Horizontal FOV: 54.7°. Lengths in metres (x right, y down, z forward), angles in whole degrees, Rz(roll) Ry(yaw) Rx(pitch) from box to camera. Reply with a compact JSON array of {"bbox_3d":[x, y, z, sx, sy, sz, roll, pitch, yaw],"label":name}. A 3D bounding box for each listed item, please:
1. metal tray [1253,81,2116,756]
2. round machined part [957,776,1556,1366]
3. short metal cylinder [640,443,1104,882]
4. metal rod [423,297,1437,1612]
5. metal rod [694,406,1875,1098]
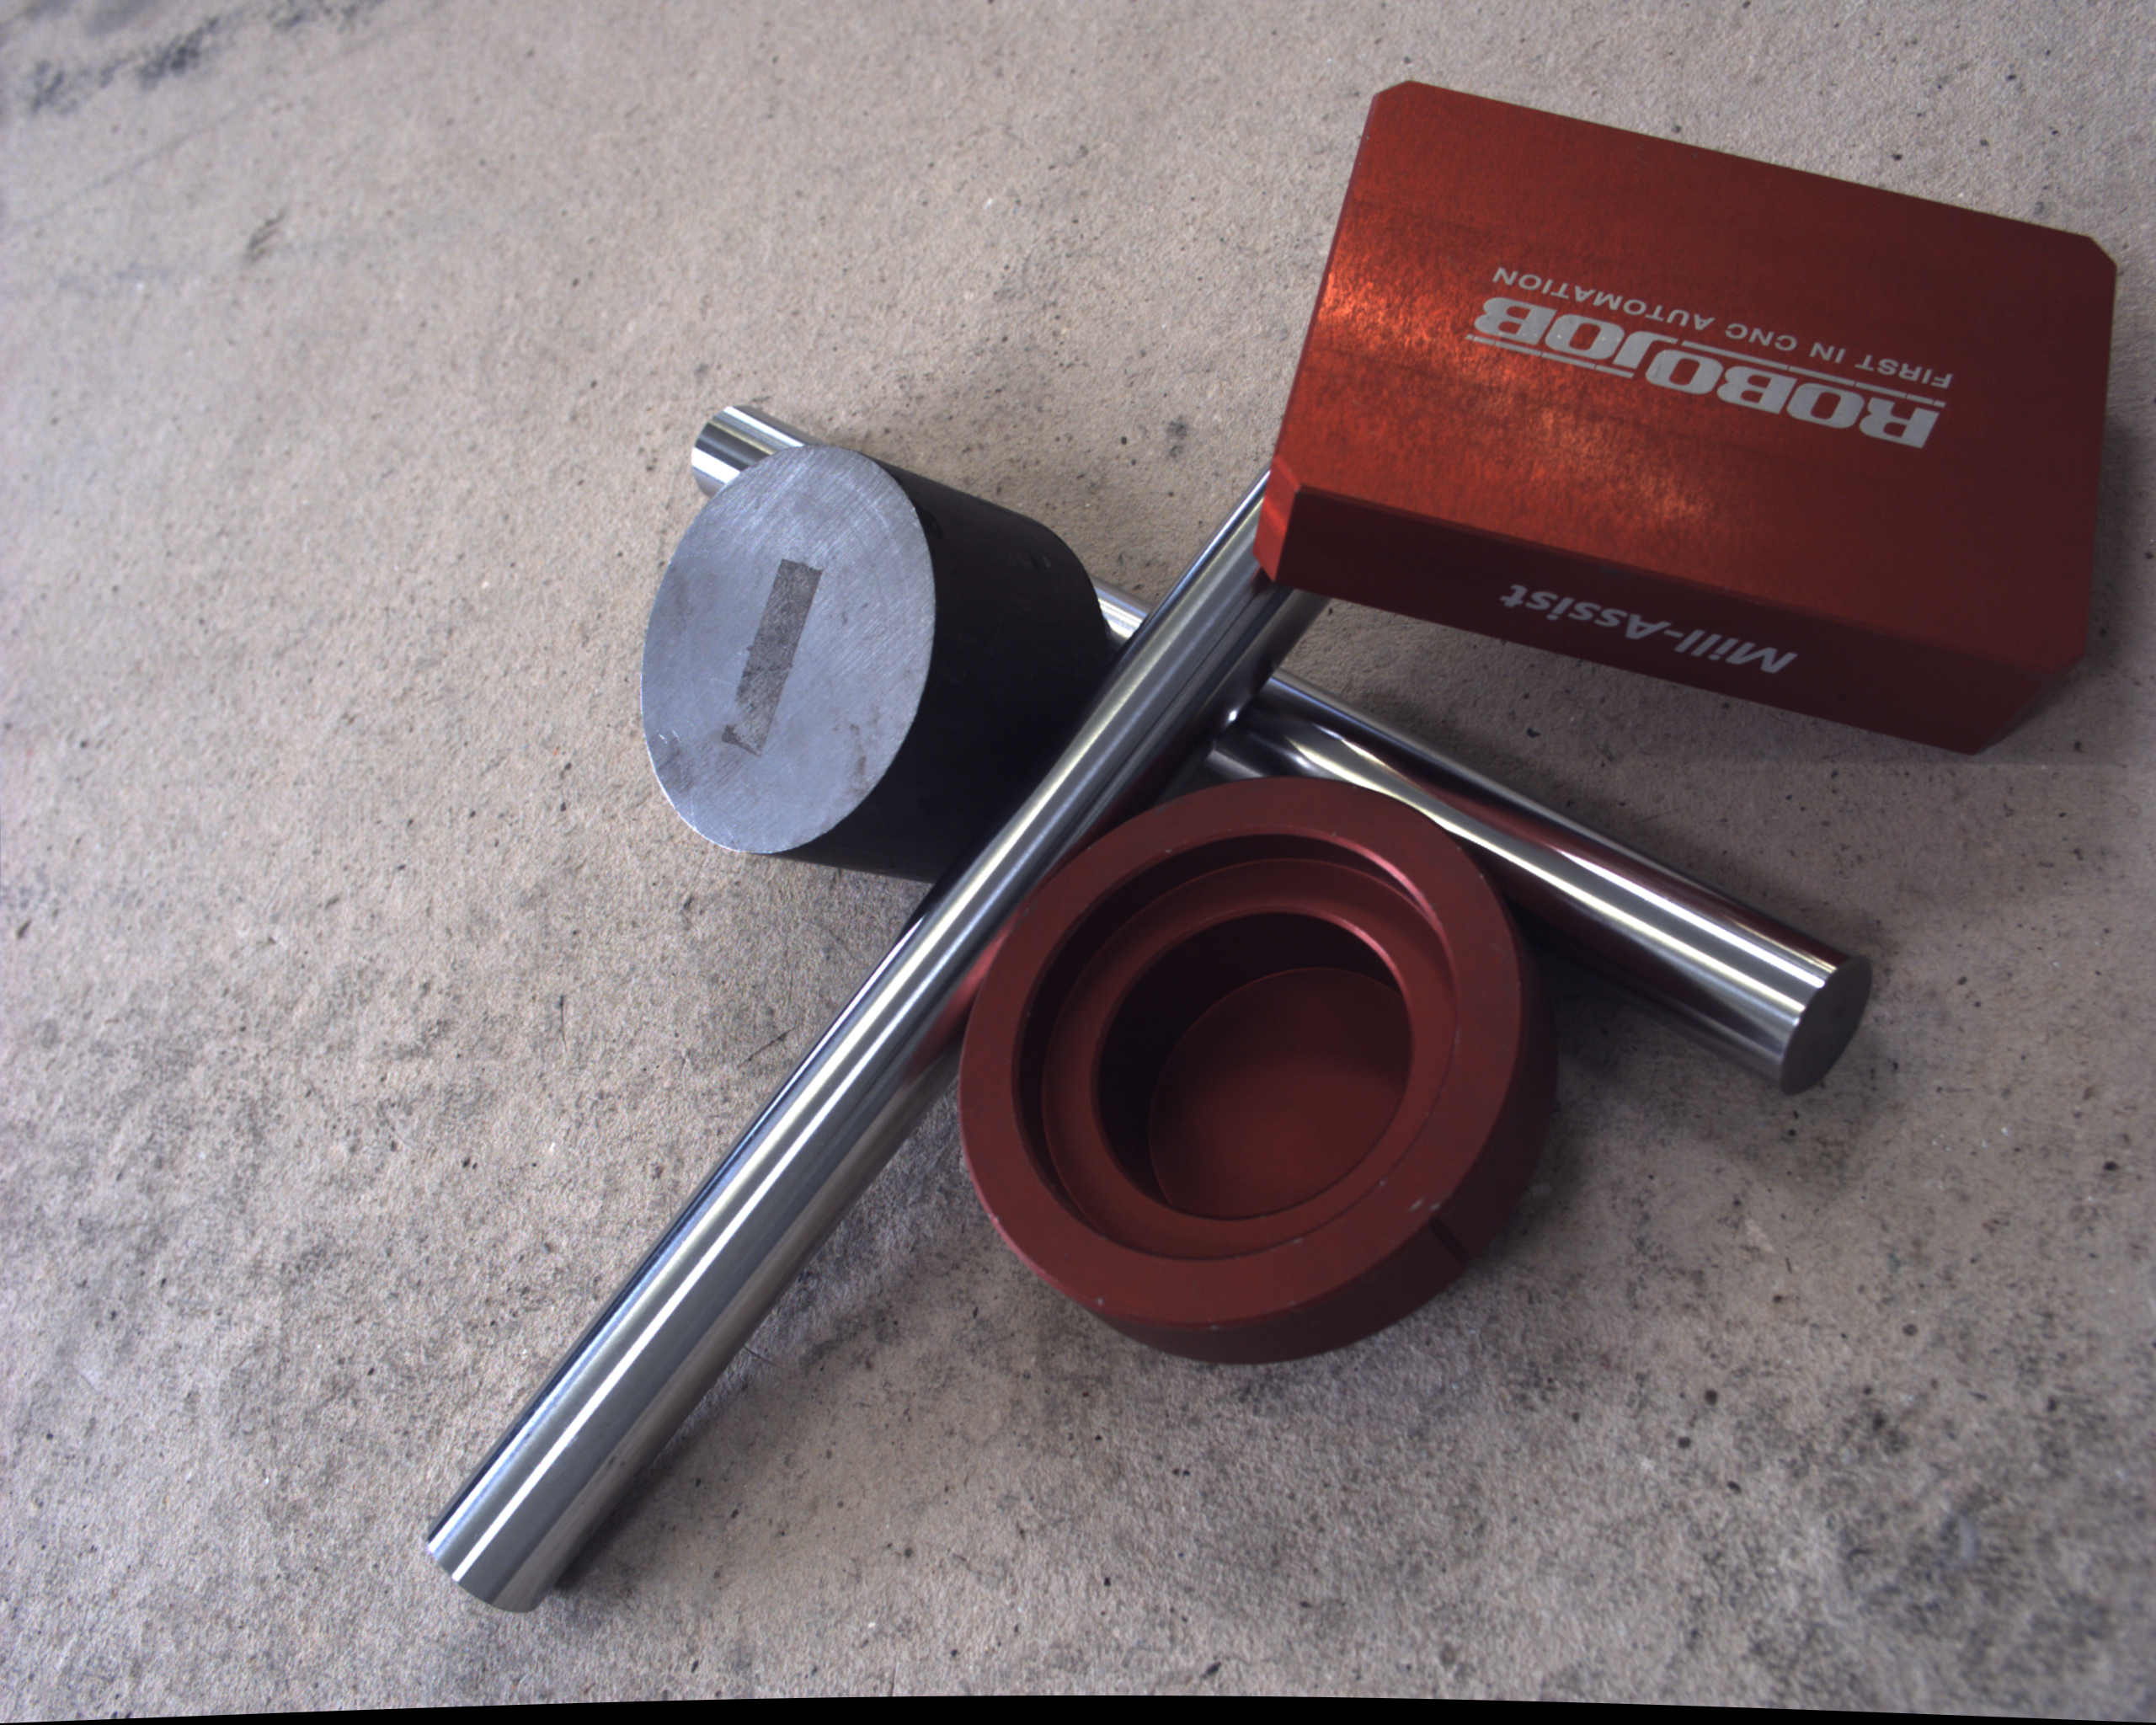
[{"bbox_3d":[0.104,-0.078,0.359,0.131,0.030,0.090,15,66,4],"label":"metal tray"},{"bbox_3d":[0.033,0.037,0.354,0.098,0.042,0.098,-13,56,21],"label":"round machined part"},{"bbox_3d":[-0.042,-0.038,0.418,0.080,0.050,0.080,-8,77,39],"label":"short metal cylinder"},{"bbox_3d":[-0.017,0.012,0.385,0.300,0.025,0.025,-52,52,0],"label":"metal rod"},{"bbox_3d":[0.017,-0.037,0.420,0.300,0.025,0.025,32,80,38],"label":"metal rod"}]
